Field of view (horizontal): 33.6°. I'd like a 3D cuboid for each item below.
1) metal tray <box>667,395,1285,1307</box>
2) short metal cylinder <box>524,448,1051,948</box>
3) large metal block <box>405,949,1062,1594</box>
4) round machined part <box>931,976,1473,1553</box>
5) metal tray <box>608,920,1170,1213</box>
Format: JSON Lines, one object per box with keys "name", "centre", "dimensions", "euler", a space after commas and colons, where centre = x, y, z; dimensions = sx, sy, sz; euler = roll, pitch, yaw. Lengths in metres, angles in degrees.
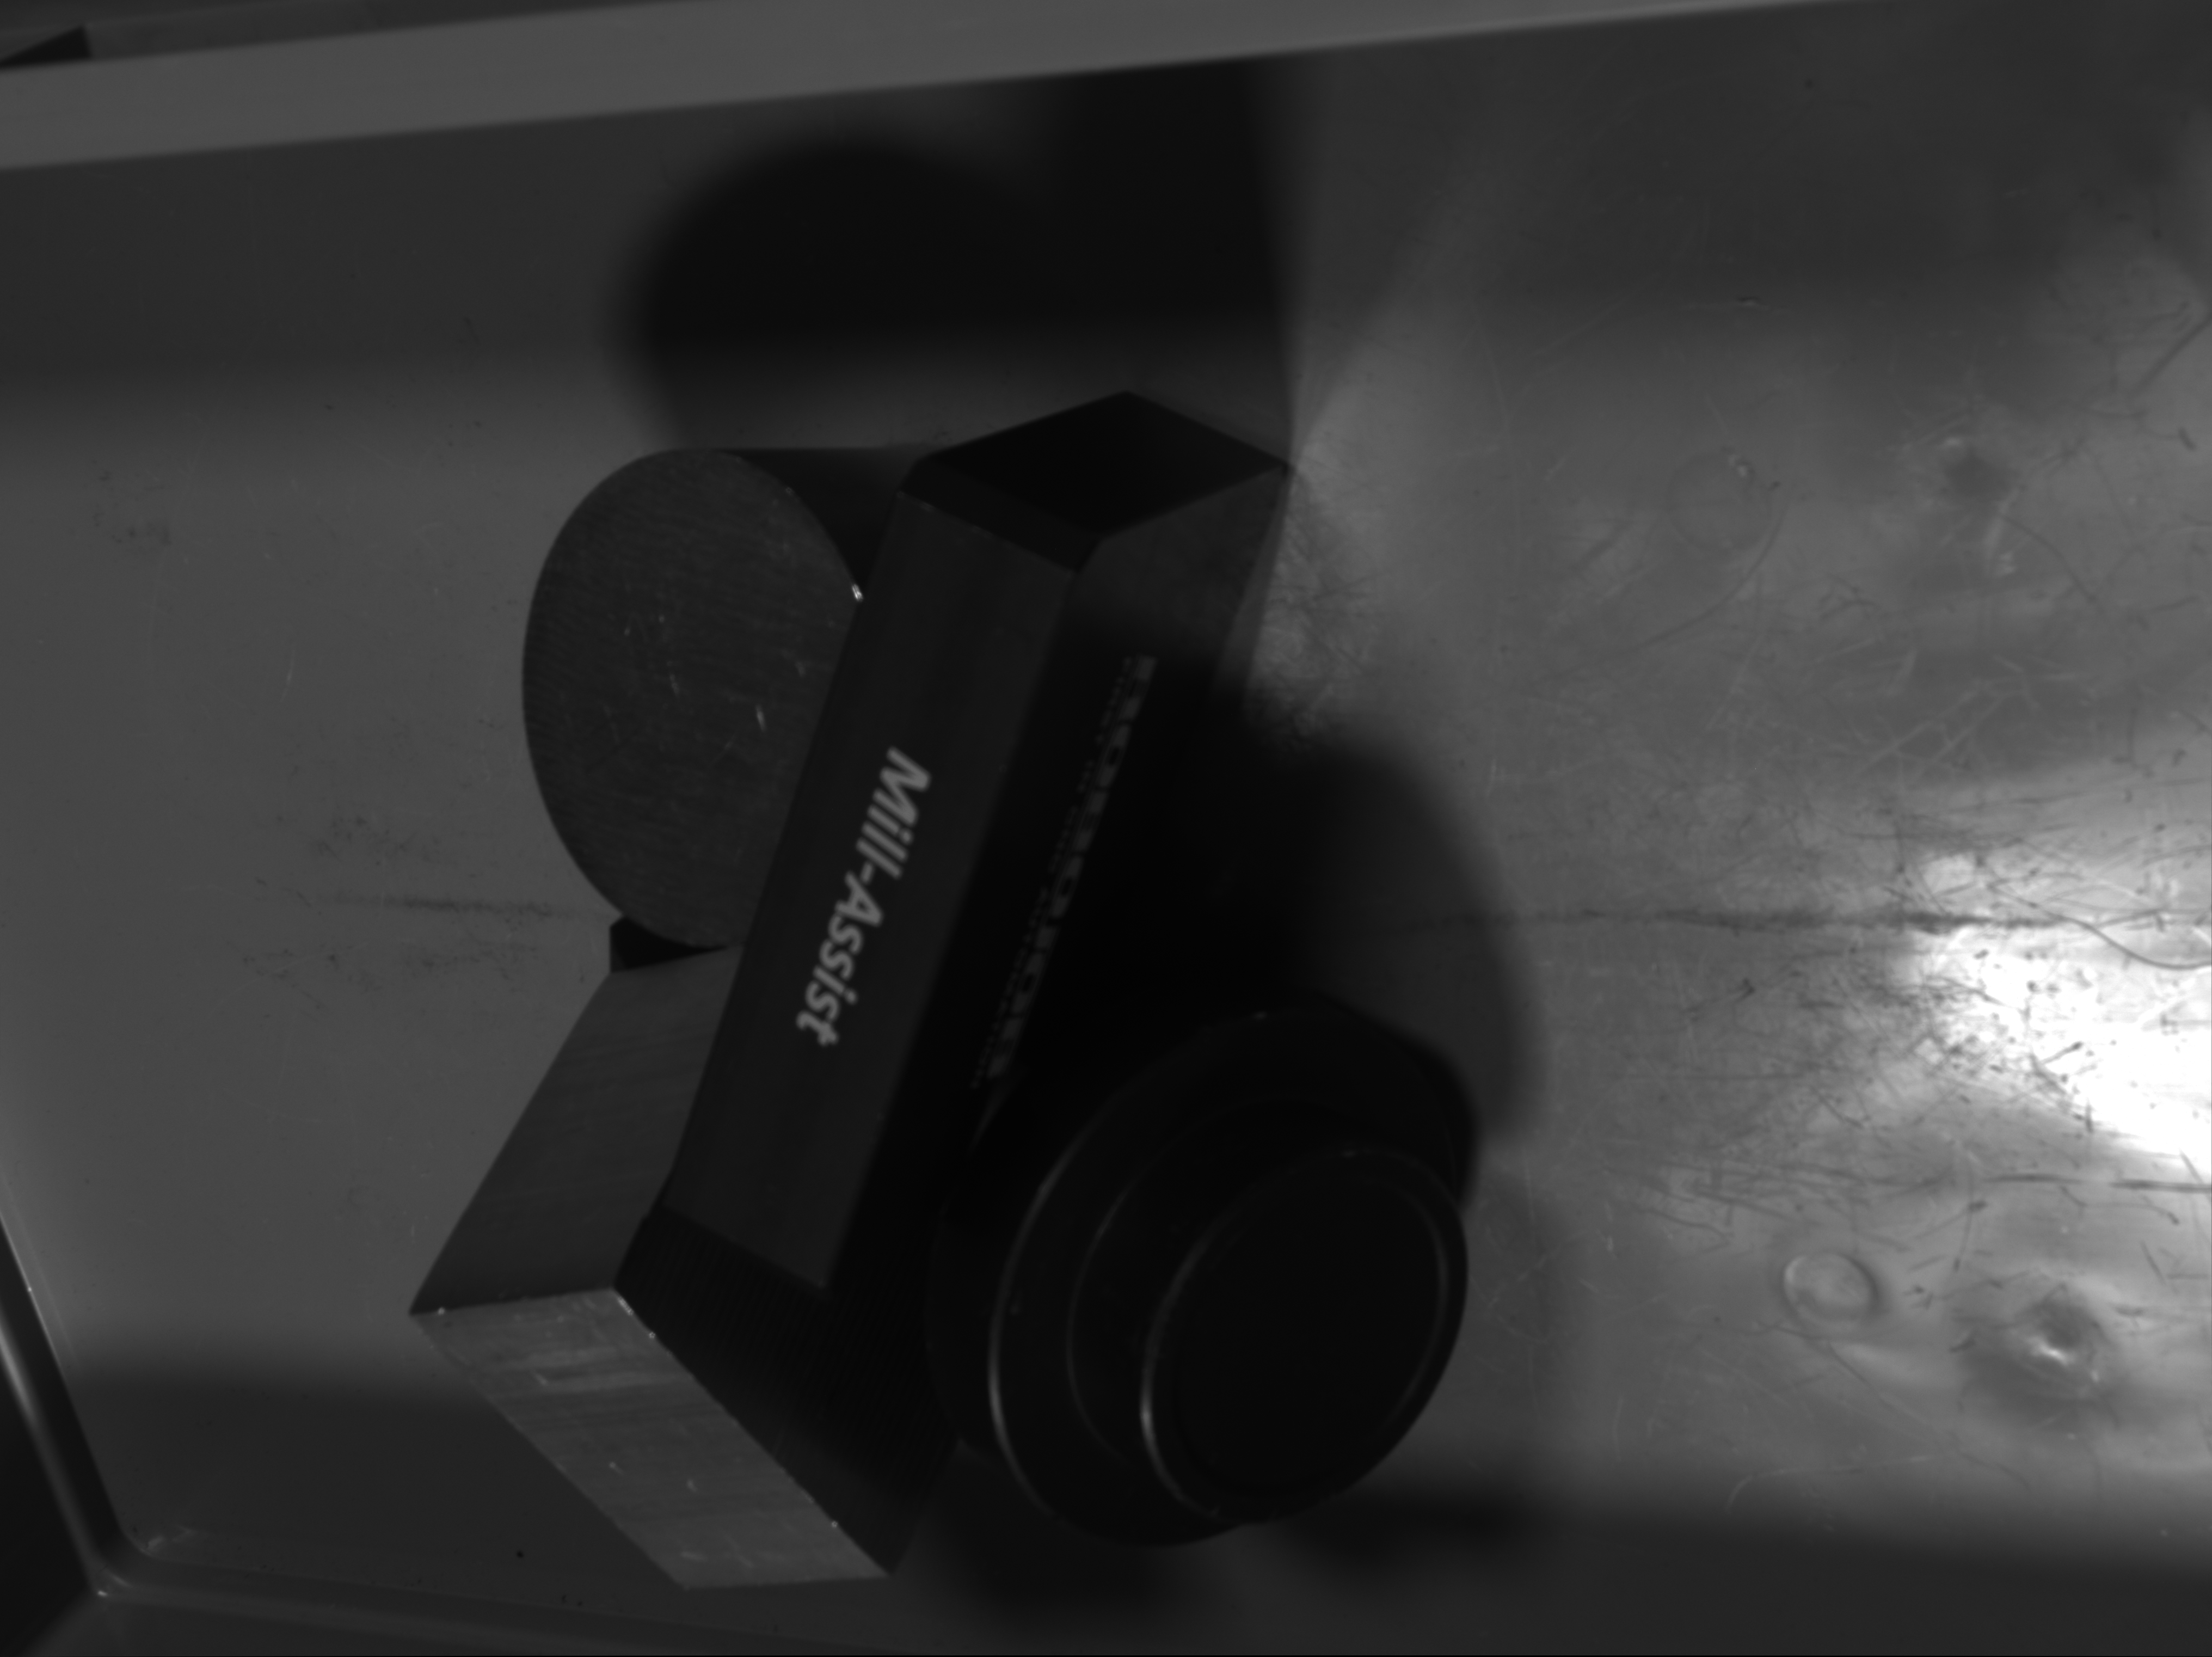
{"name": "metal tray", "centre": [-0.019, 0.001, 0.579], "dimensions": [0.030, 0.090, 0.130], "euler": [25, 111, 15]}
{"name": "short metal cylinder", "centre": [-0.050, -0.023, 0.606], "dimensions": [0.080, 0.050, 0.080], "euler": [5, 98, 38]}
{"name": "large metal block", "centre": [-0.063, 0.076, 0.643], "dimensions": [0.050, 0.080, 0.080], "euler": [-13, 128, 38]}
{"name": "round machined part", "centre": [0.023, 0.078, 0.614], "dimensions": [0.042, 0.098, 0.098], "euler": [28, 134, 48]}
{"name": "metal tray", "centre": [-0.028, 0.062, 0.677], "dimensions": [0.130, 0.030, 0.090], "euler": [16, 124, 18]}
